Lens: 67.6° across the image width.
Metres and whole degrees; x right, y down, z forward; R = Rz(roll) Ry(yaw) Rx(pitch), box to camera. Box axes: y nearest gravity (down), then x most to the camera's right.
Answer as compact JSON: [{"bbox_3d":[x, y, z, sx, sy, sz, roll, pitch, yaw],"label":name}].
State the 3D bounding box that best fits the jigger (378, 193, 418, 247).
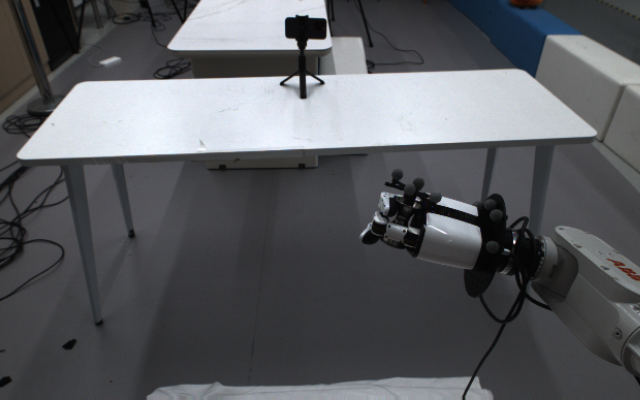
[{"bbox_3d":[0.122,0.033,0.728,0.043,0.071,0.043,18,17,-6],"label":"jigger"}]
